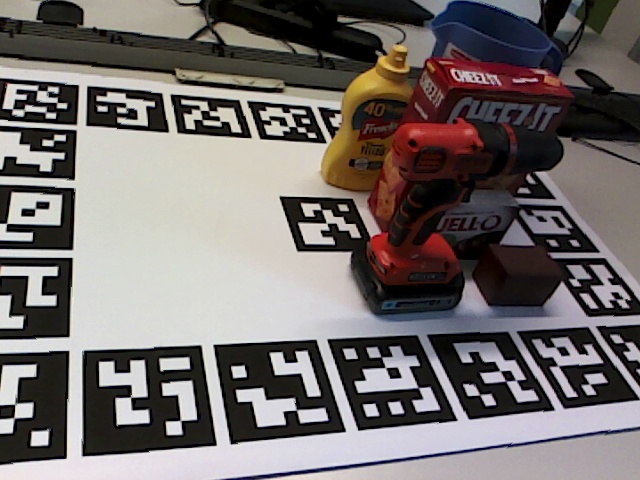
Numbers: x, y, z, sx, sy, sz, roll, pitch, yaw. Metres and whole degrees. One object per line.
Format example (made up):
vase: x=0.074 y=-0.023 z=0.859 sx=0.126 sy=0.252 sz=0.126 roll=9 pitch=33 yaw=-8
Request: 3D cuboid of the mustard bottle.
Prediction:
mustard bottle: x=0.071 y=-0.166 z=0.786 sx=0.096 sy=0.191 sz=0.058 roll=10 pitch=42 yaw=-10

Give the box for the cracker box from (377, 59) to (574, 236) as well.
cracker box: x=0.177 y=-0.099 z=0.741 sx=0.163 sy=0.213 sz=0.072 roll=-2 pitch=43 yaw=-19

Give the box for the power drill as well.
power drill: x=0.142 y=-0.034 z=0.632 sx=0.184 sy=0.187 sz=0.058 roll=0 pitch=40 yaw=-21

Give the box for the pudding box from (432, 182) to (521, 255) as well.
pudding box: x=0.169 y=-0.027 z=0.740 sx=0.113 sy=0.090 sz=0.039 roll=0 pitch=43 yaw=-17

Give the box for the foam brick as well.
foam brick: x=0.230 y=0.042 z=0.736 sx=0.078 sy=0.051 sz=0.053 roll=3 pitch=45 yaw=-18

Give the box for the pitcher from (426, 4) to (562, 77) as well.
pitcher: x=0.198 y=-0.173 z=0.824 sx=0.188 sy=0.242 sz=0.134 roll=4 pitch=43 yaw=-14
